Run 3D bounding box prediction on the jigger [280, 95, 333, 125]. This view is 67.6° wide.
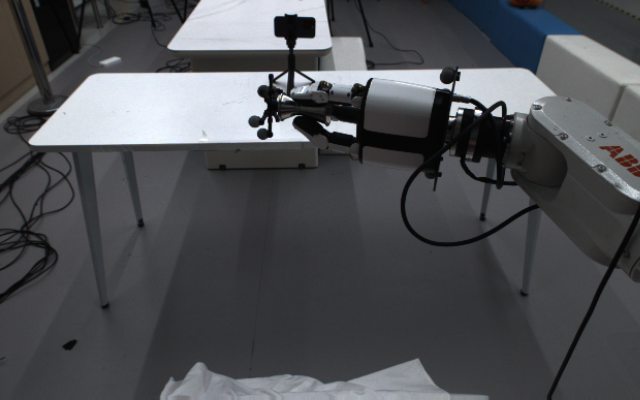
[{"bbox_3d":[-0.014,-0.131,0.670,0.071,0.043,0.043,6,35,12],"label":"jigger"}]
